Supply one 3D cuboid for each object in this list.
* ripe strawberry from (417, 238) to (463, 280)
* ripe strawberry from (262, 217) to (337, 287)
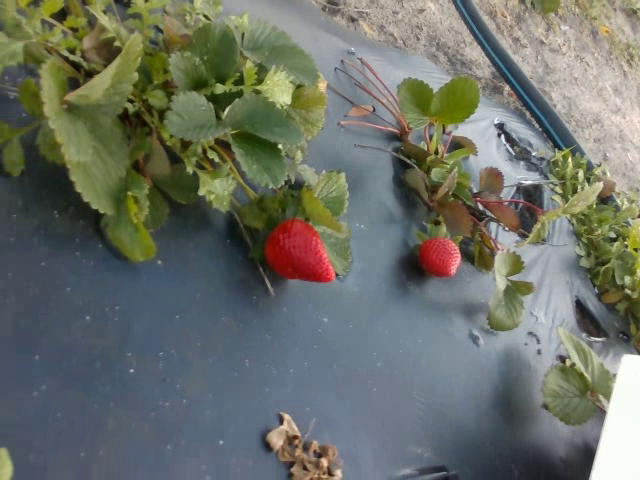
[{"bbox_3d":[0.097,0.019,0.477,0.041,0.045,0.052,-16,26,2],"label":"ripe strawberry"},{"bbox_3d":[-0.010,0.012,0.362,0.050,0.046,0.051,30,-16,48],"label":"ripe strawberry"}]
